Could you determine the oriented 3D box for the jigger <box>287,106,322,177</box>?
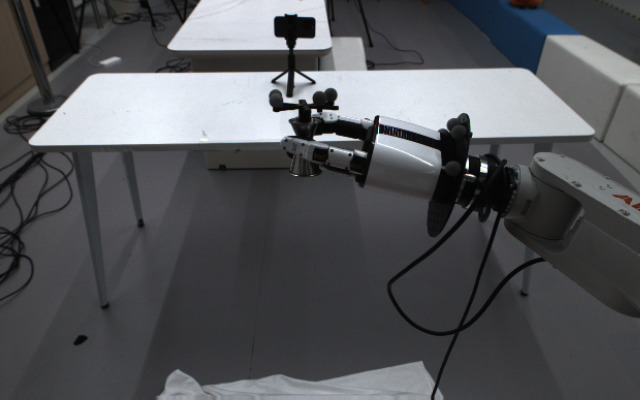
[{"bbox_3d":[-0.020,-0.067,0.614,0.043,0.071,0.043,0,21,0],"label":"jigger"}]
